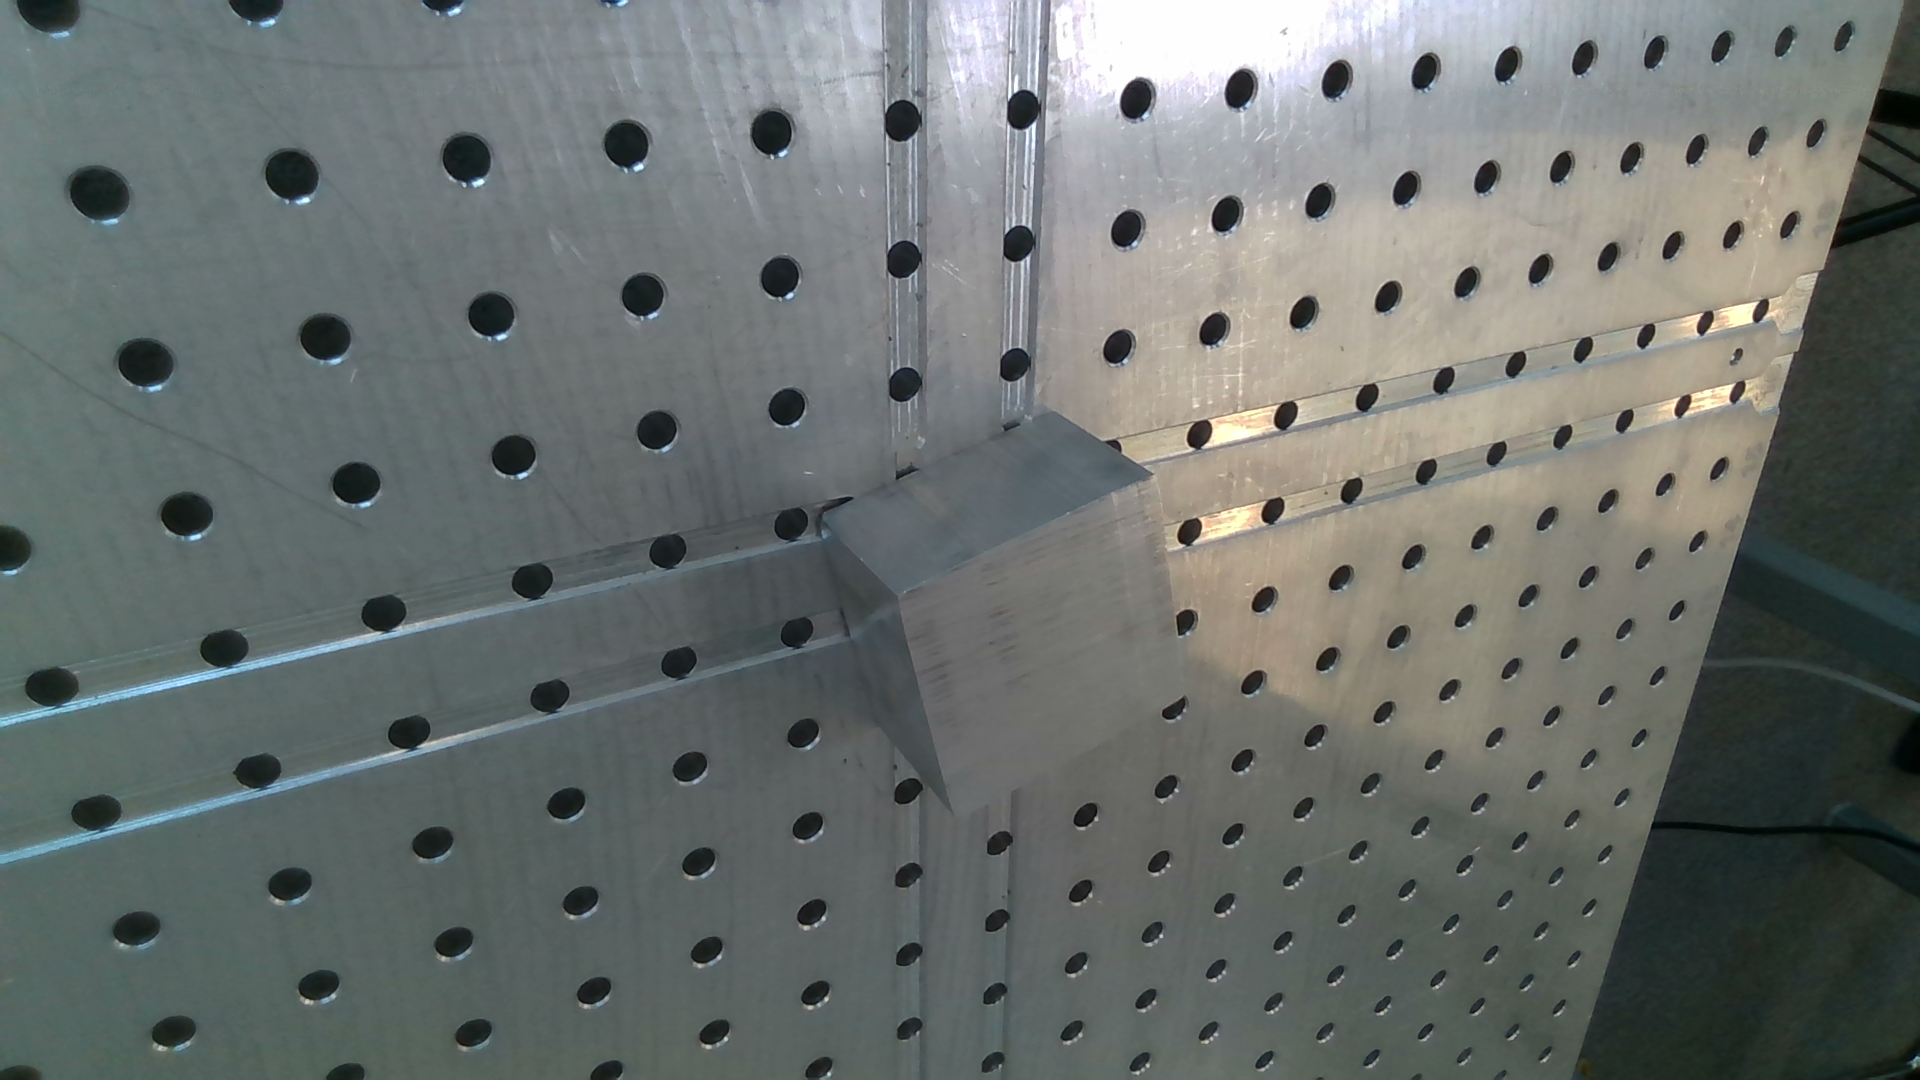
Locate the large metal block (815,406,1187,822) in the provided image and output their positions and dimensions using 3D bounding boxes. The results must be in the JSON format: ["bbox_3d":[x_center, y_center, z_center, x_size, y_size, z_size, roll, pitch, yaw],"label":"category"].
[{"bbox_3d":[0.014,0.020,0.394,0.080,0.050,0.080,-25,125,-18],"label":"large metal block"}]
